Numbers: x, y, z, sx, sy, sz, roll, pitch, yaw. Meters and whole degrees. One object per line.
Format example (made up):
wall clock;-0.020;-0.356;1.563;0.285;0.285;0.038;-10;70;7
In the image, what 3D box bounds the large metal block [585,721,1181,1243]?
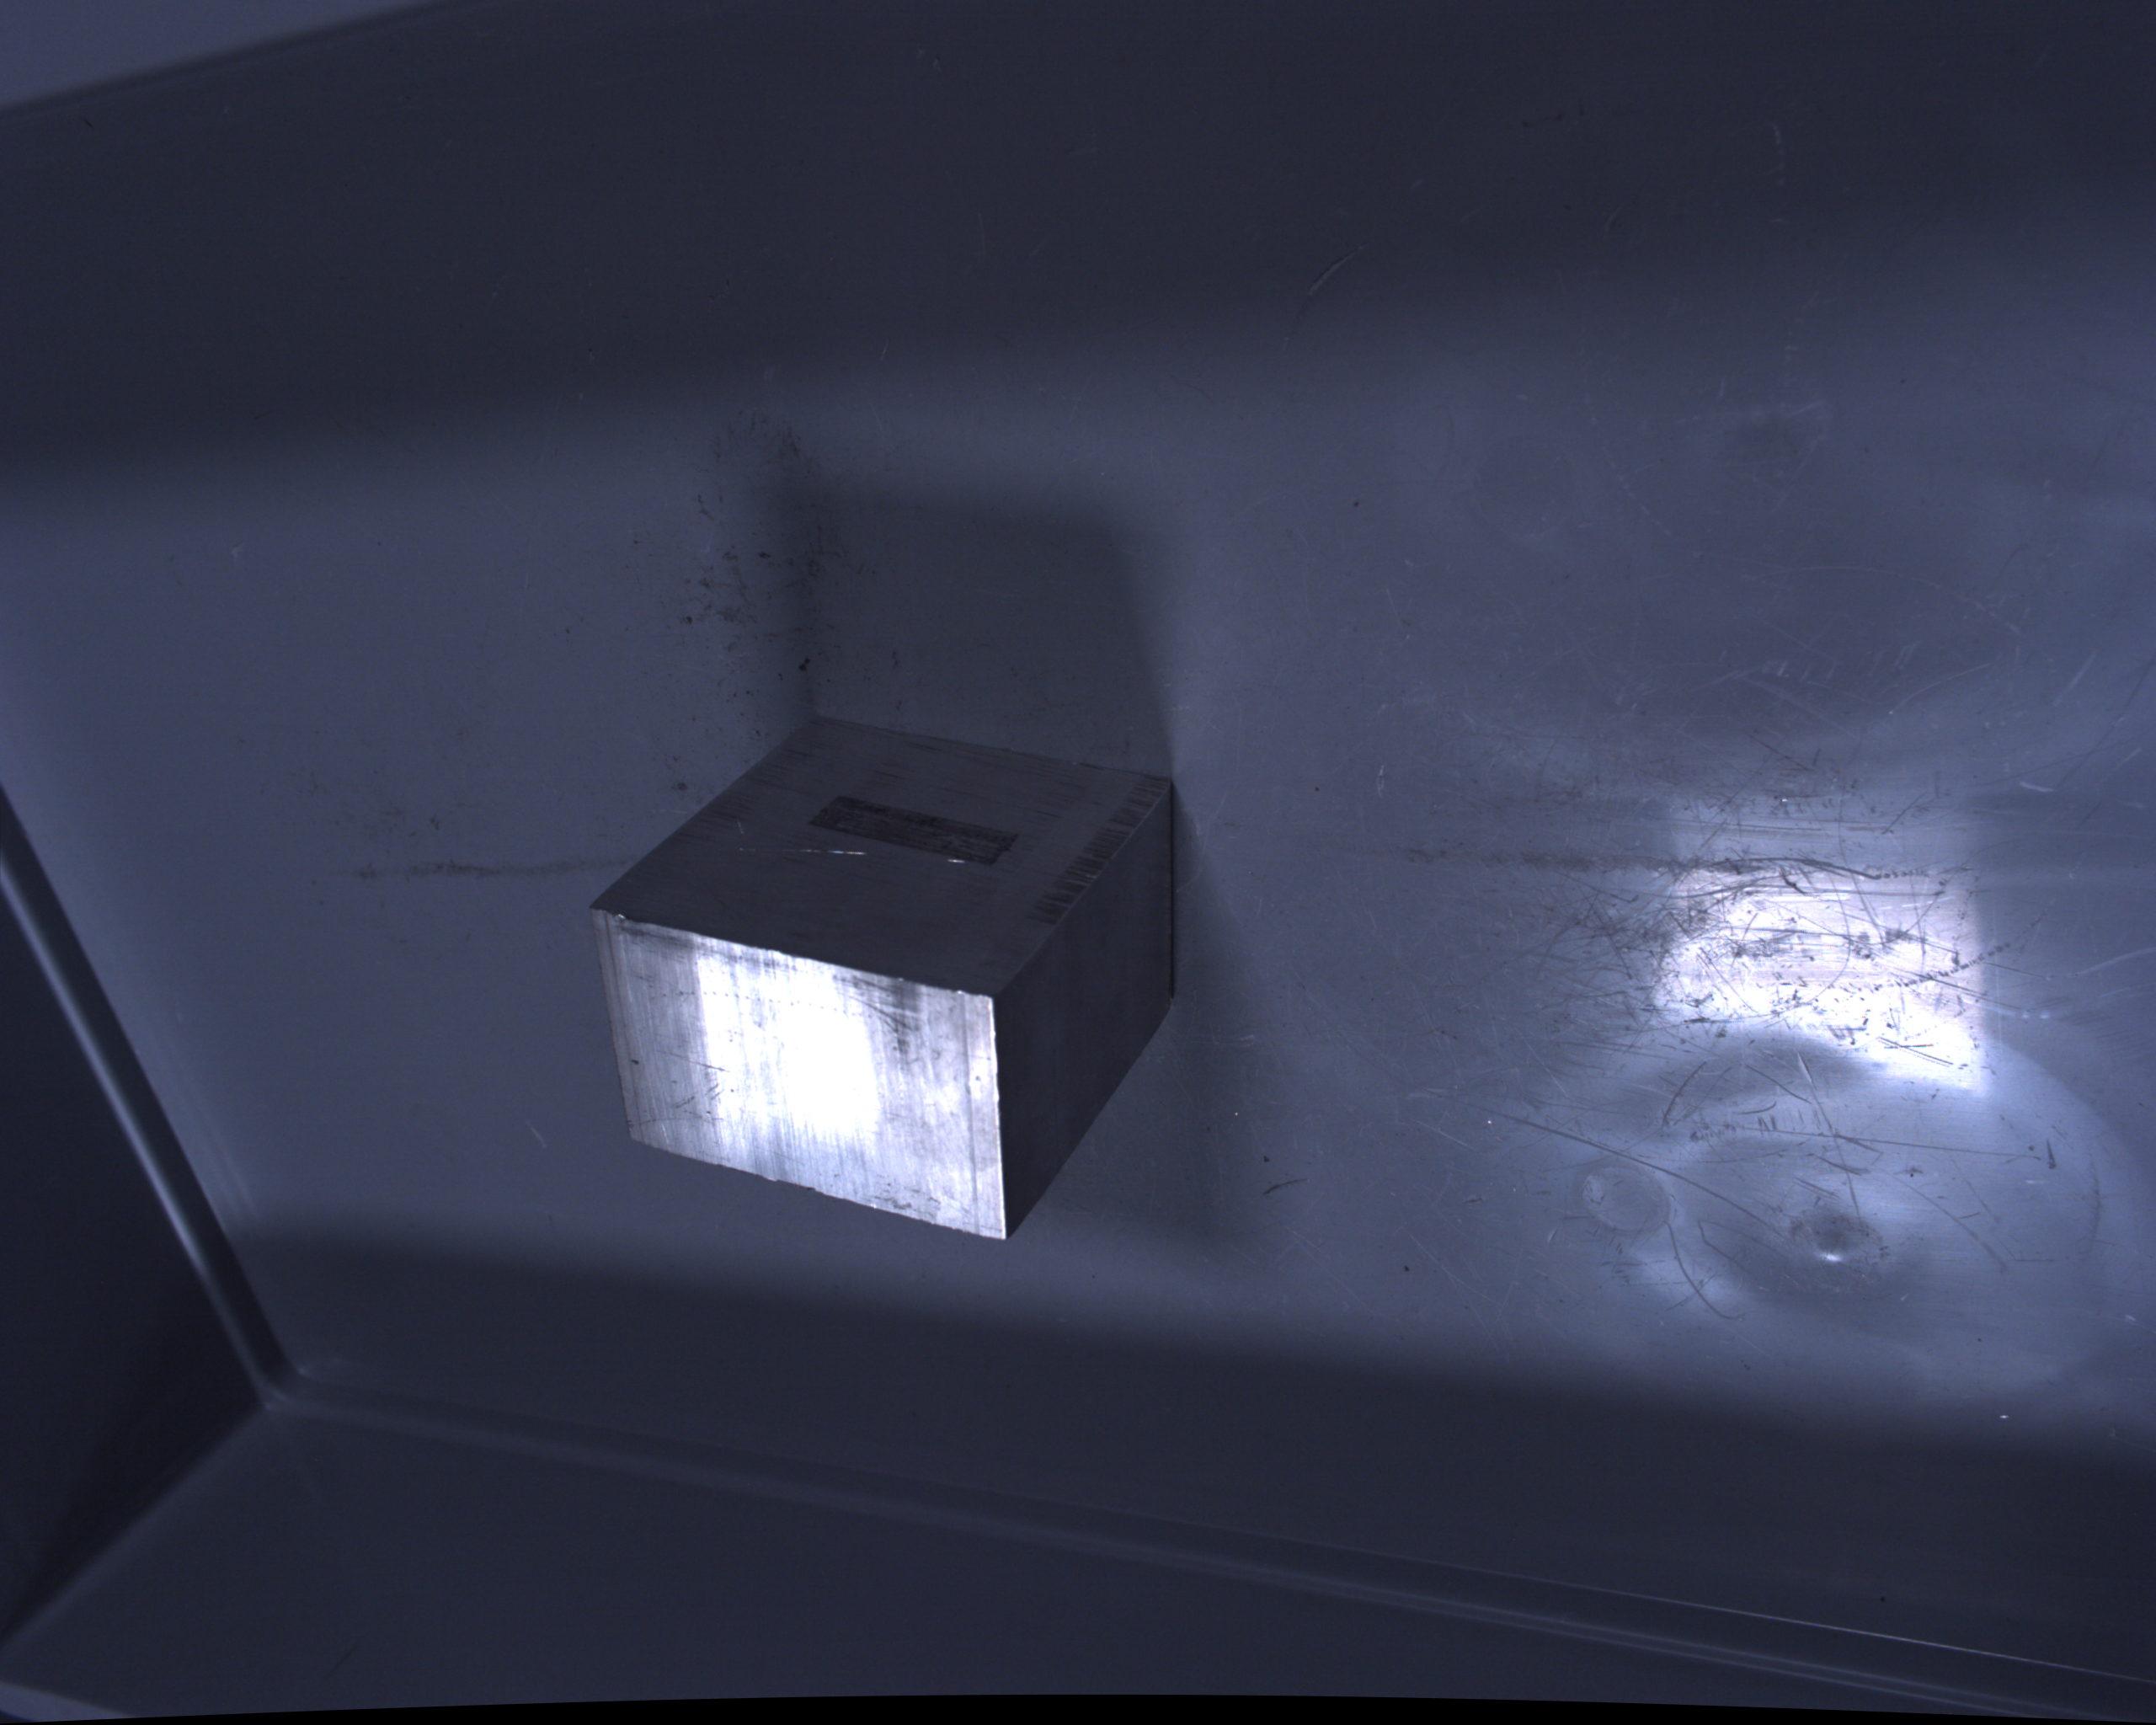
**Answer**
large metal block;-0.033;0.019;0.397;0.080;0.080;0.050;12;123;21
